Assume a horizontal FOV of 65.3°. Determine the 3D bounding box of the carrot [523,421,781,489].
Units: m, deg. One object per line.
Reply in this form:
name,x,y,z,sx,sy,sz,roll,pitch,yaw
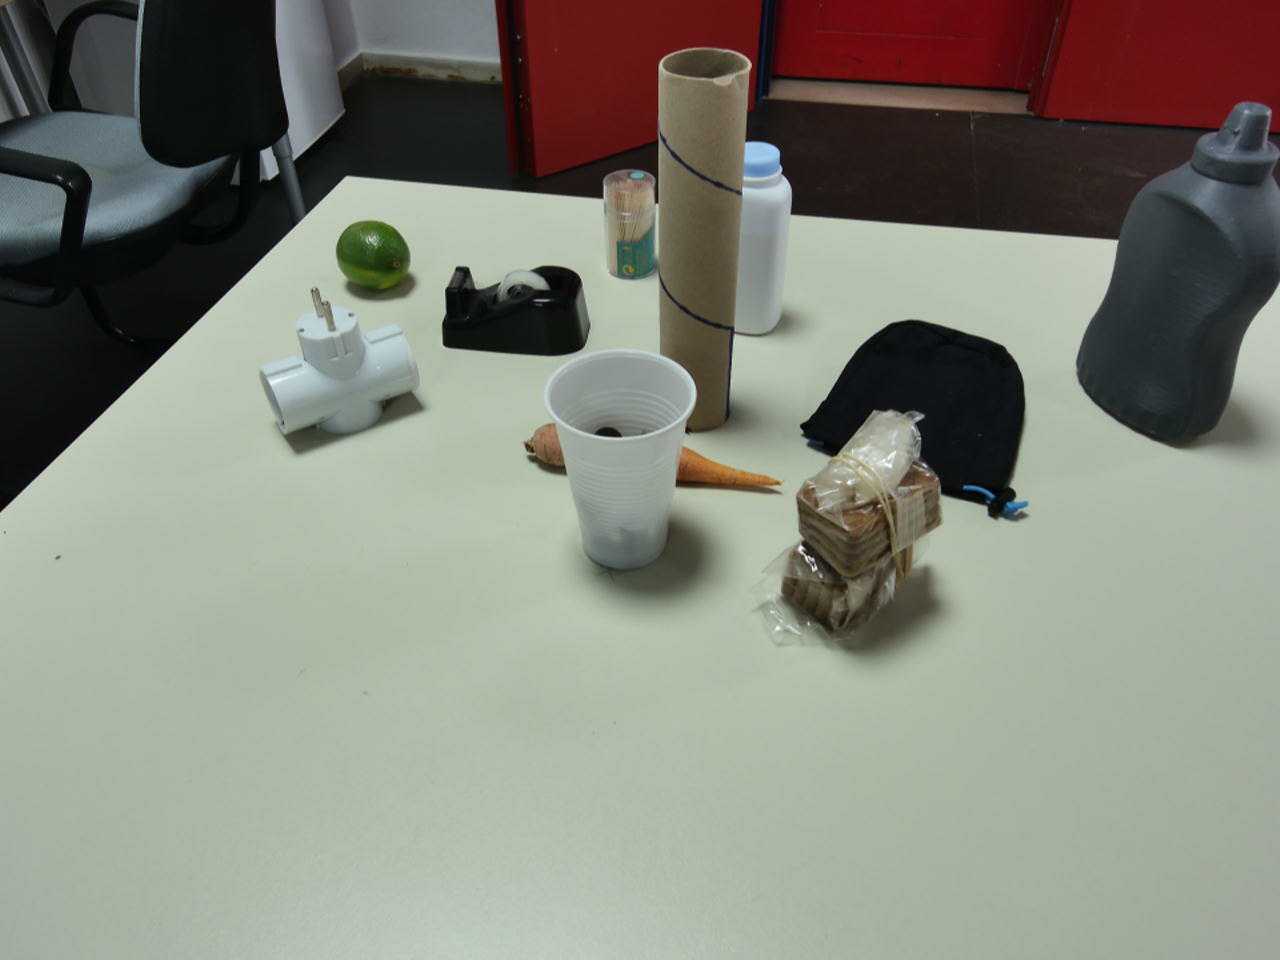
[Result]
carrot,0.007,-0.015,0.616,0.163,0.029,0.031,8,40,10
